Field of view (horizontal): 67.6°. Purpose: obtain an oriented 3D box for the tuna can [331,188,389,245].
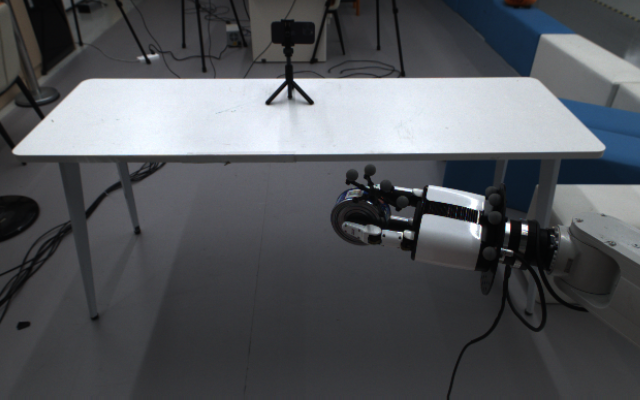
[{"bbox_3d":[0.063,0.032,0.713,0.085,0.085,0.034,12,35,14],"label":"tuna can"}]
